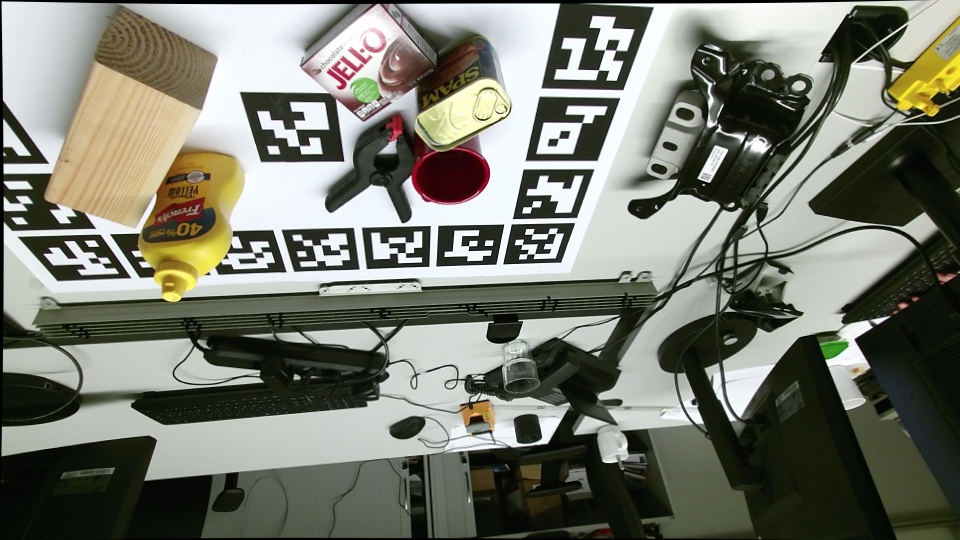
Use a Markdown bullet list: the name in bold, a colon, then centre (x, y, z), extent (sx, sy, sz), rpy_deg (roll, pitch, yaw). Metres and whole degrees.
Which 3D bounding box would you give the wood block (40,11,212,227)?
- **wood block**: centre (-0.374, -0.146, 0.565), extent (0.090, 0.090, 0.206), rpy_deg (23, 134, -37)

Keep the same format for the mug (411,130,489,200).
- **mug**: centre (-0.046, -0.141, 0.674), extent (0.094, 0.081, 0.117), rpy_deg (12, 135, -25)

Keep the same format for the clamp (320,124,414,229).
- **clamp**: centre (-0.132, -0.115, 0.697), extent (0.122, 0.036, 0.165), rpy_deg (11, 136, -22)

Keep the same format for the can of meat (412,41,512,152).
- **can of meat**: centre (-0.023, -0.187, 0.575), extent (0.102, 0.083, 0.058), rpy_deg (-22, 139, 16)

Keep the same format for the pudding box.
- **pudding box**: centre (-0.122, -0.217, 0.562), extent (0.114, 0.038, 0.090), rpy_deg (-28, 138, 24)

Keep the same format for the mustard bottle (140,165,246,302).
- **mustard bottle**: centre (-0.334, -0.040, 0.617), extent (0.096, 0.190, 0.058), rpy_deg (-7, 141, -5)
